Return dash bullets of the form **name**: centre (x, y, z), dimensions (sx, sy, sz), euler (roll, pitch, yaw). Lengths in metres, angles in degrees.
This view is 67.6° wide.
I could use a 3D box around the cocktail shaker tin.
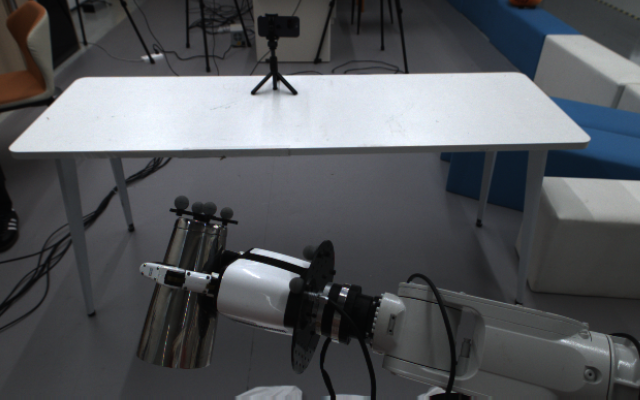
- **cocktail shaker tin**: centre (-0.164, 0.113, 0.608), dimensions (0.093, 0.170, 0.093), euler (11, -5, 1)
